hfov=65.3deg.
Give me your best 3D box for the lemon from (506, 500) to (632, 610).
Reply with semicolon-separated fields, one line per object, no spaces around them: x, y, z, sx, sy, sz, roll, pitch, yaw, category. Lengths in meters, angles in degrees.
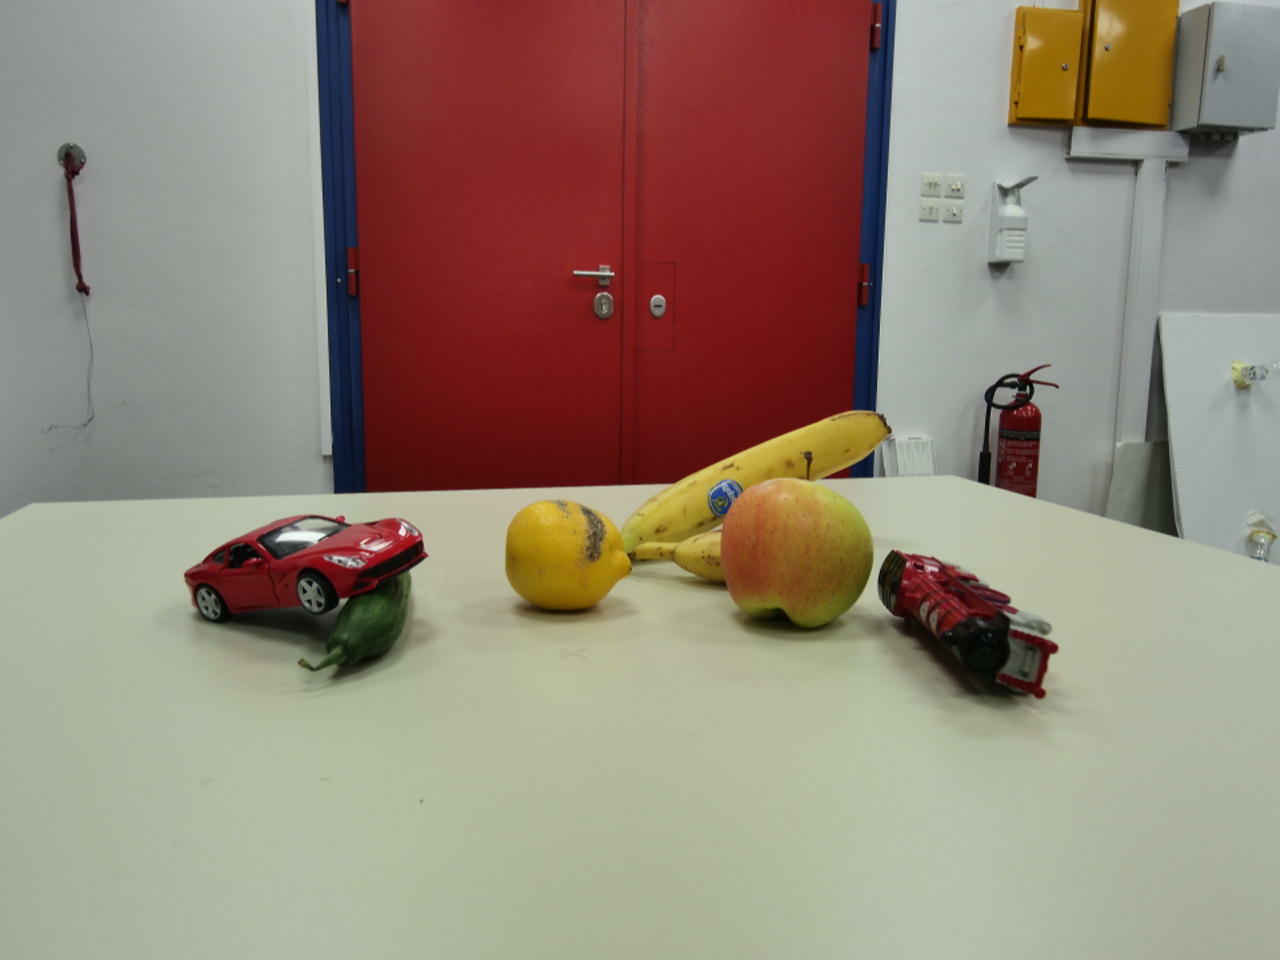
-0.040;0.039;0.515;0.061;0.056;0.058;-2;7;-21;lemon
